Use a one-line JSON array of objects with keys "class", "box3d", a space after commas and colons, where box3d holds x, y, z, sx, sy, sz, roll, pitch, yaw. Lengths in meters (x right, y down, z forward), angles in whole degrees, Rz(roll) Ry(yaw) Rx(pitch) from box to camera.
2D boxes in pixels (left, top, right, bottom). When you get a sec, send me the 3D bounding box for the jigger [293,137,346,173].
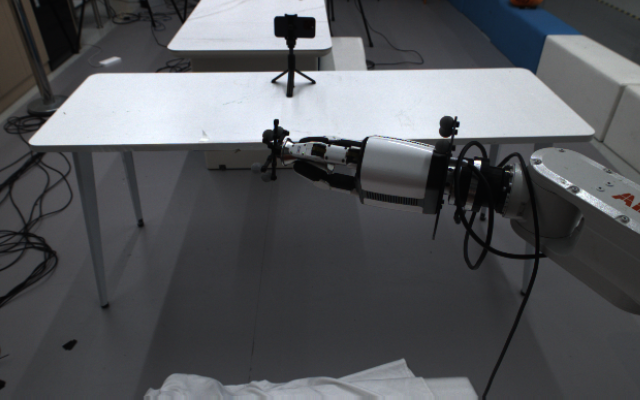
[{"class": "jigger", "box3d": [-0.010, -0.065, 0.668, 0.071, 0.043, 0.043, 10, 35, 16]}]
